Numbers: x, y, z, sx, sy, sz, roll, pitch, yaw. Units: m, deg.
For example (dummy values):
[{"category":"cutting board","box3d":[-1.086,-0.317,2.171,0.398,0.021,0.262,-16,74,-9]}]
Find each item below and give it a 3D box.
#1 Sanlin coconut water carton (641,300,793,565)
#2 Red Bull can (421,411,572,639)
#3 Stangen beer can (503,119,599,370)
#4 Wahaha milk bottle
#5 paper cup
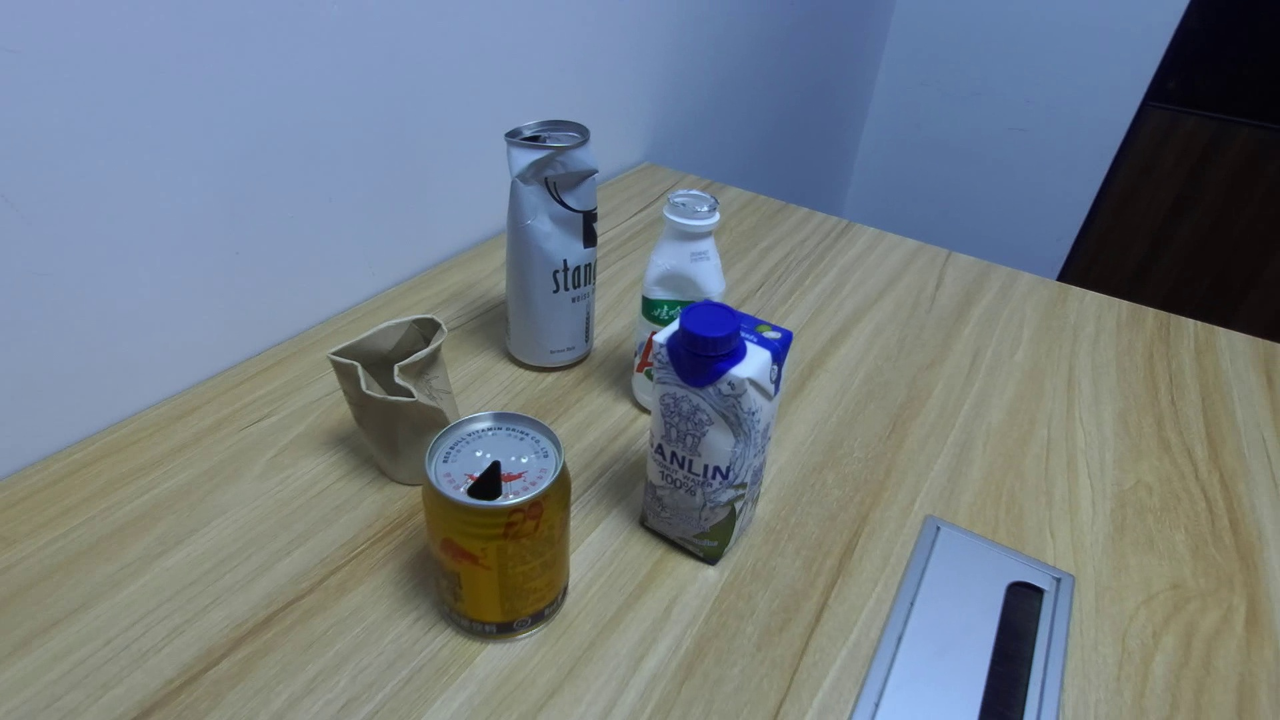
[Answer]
[{"category":"Sanlin coconut water carton","box3d":[0.037,0.033,0.365,0.060,0.144,0.061,23,38,26]},{"category":"Red Bull can","box3d":[-0.066,0.079,0.337,0.067,0.093,0.067,3,35,-2]},{"category":"Stangen beer can","box3d":[-0.063,-0.075,0.487,0.066,0.166,0.065,-11,38,-20]},{"category":"Wahaha milk bottle","box3d":[0.027,-0.034,0.452,0.055,0.149,0.055,4,32,-2]},{"category":"paper cup","box3d":[-0.128,0.027,0.409,0.058,0.083,0.067,30,44,25]}]
